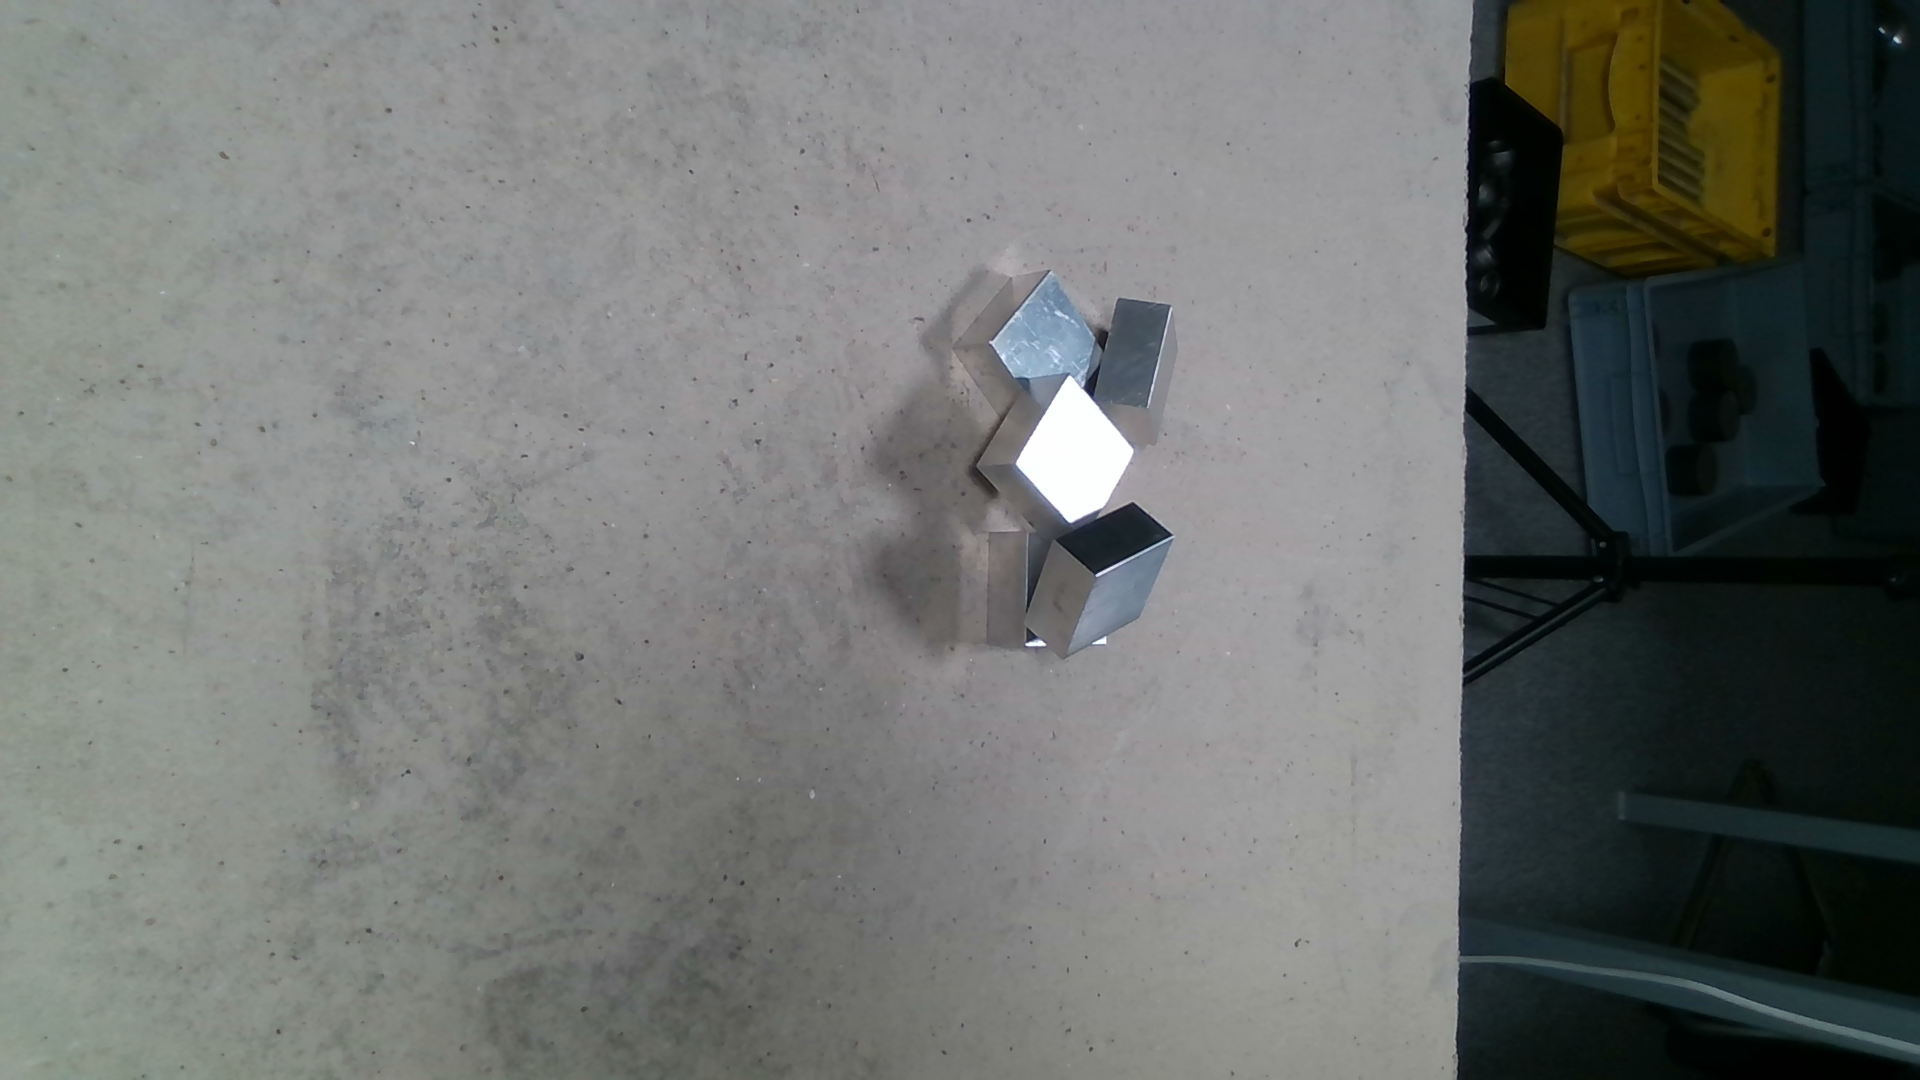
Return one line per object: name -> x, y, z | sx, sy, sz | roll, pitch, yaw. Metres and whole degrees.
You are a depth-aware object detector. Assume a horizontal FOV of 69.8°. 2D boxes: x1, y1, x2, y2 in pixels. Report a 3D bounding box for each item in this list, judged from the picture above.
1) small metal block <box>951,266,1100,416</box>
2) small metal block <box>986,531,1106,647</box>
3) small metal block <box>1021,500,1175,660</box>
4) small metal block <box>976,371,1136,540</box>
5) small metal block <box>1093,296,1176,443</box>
small metal block -> 0.031, -0.084, 0.609 | 0.050, 0.025, 0.050 | -52, 121, -27
small metal block -> 0.039, 0.022, 0.617 | 0.050, 0.025, 0.050 | 2, 88, -40
small metal block -> 0.058, 0.017, 0.583 | 0.050, 0.025, 0.050 | -24, 145, -38
small metal block -> 0.042, -0.035, 0.584 | 0.050, 0.025, 0.050 | 45, 63, -31
small metal block -> 0.081, -0.078, 0.637 | 0.050, 0.025, 0.050 | 52, 50, -71
